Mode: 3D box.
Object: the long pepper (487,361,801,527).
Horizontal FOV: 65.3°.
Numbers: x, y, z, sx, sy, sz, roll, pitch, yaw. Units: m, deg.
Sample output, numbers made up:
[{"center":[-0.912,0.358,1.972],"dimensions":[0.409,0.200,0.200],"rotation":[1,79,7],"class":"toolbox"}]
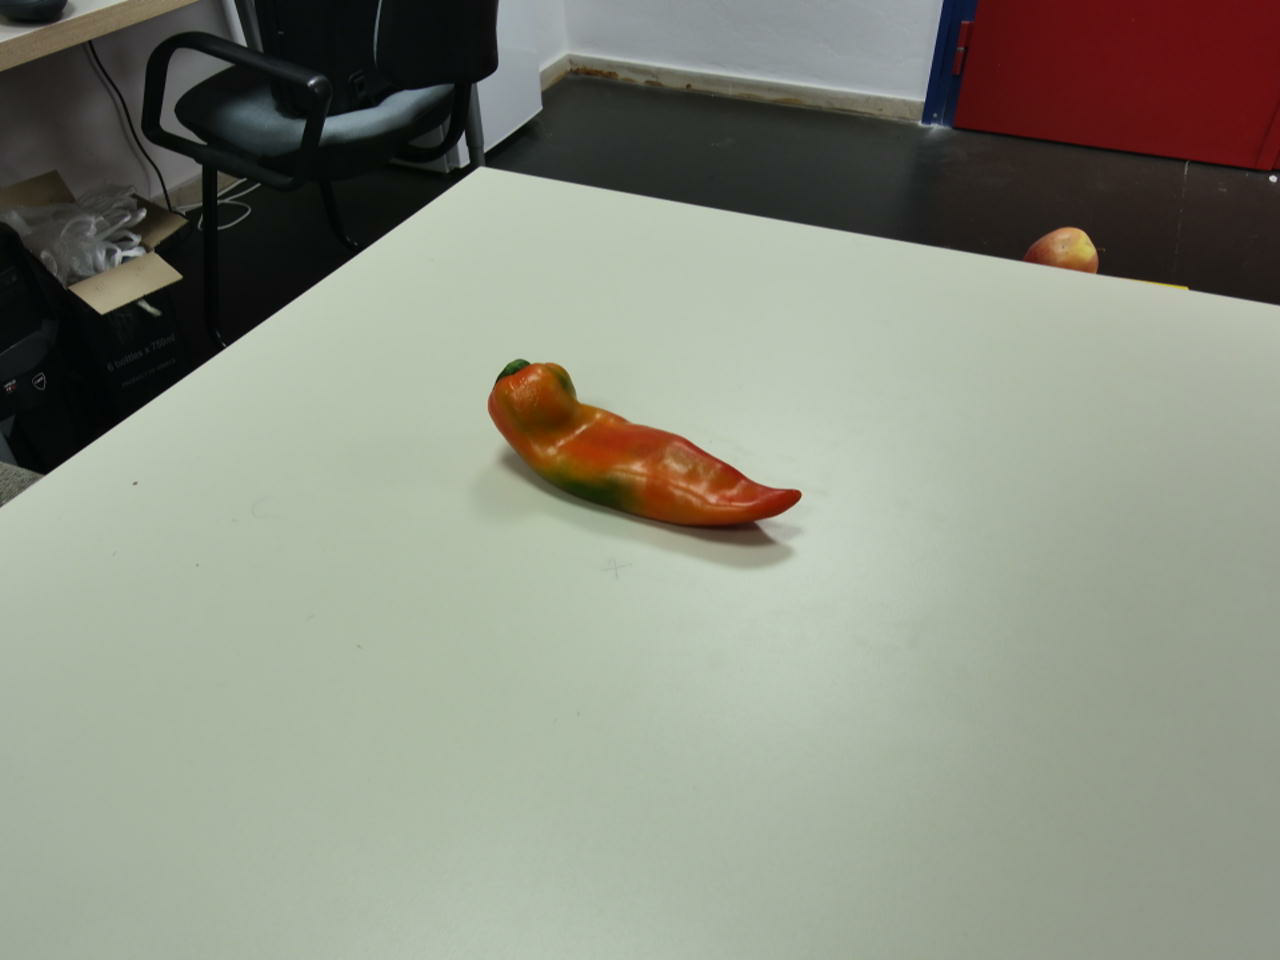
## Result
[{"center":[-0.002,-0.020,0.587],"dimensions":[0.199,0.065,0.066],"rotation":[19,43,23],"class":"long pepper"}]
